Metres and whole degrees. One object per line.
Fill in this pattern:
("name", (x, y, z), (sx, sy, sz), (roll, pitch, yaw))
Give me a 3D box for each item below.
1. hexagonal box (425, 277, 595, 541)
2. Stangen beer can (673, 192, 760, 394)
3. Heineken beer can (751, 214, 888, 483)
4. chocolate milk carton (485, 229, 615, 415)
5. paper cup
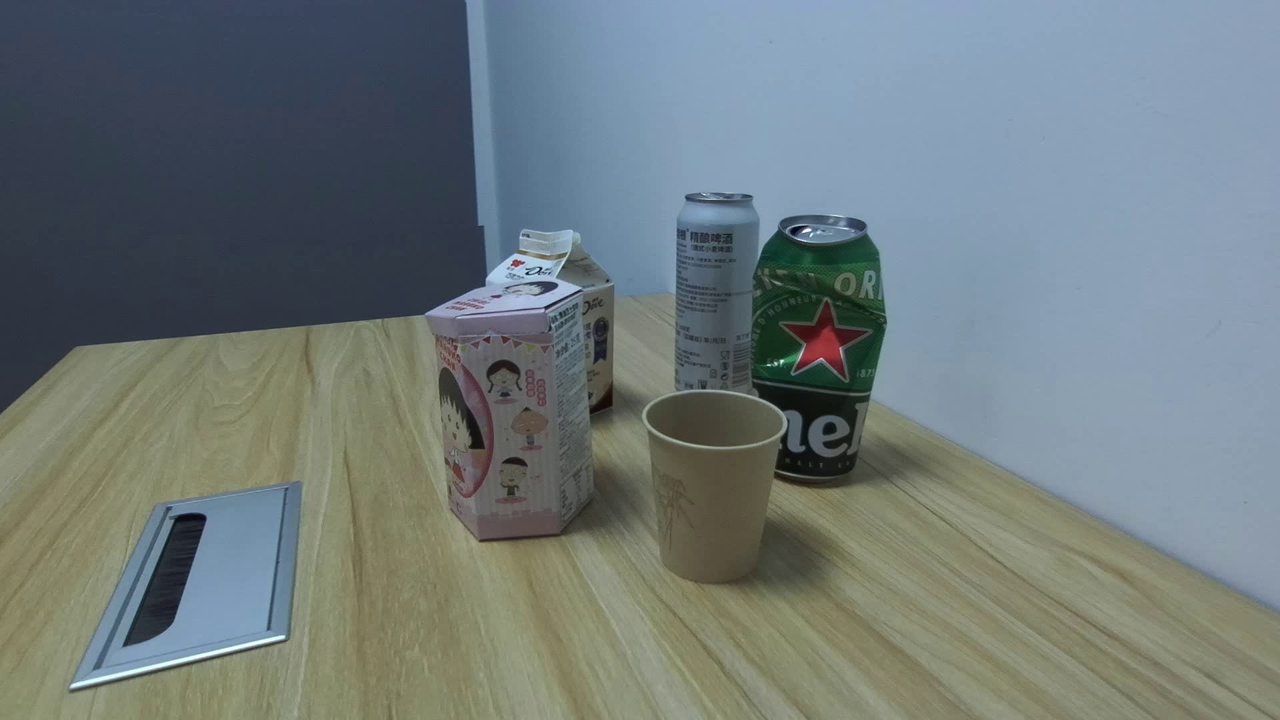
("hexagonal box", (-0.071, 0.026, 0.418), (0.085, 0.135, 0.091), (-13, 23, -32))
("Stangen beer can", (0.063, -0.050, 0.583), (0.067, 0.171, 0.067), (0, 17, 0))
("Heineken beer can", (0.112, -0.005, 0.456), (0.069, 0.168, 0.068), (-12, 24, -24))
("chocolate milk carton", (-0.070, -0.031, 0.559), (0.074, 0.148, 0.075), (-18, 27, -41))
("paper cup", (0.038, 0.067, 0.375), (0.075, 0.082, 0.075), (0, 20, 0))
